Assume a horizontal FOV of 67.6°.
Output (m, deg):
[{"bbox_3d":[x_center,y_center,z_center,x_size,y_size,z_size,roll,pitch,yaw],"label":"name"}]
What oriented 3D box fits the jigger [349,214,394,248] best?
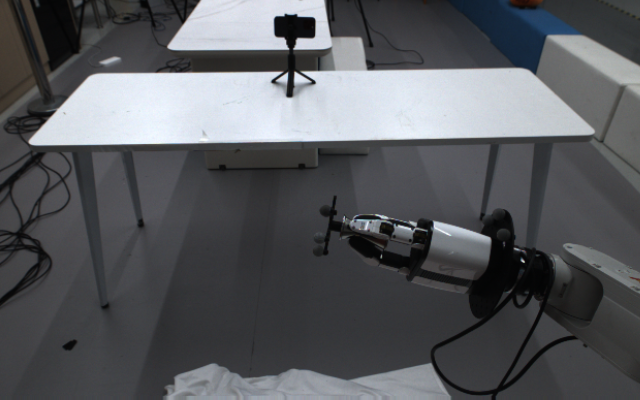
[{"bbox_3d":[0.071,0.042,0.702,0.071,0.043,0.043,11,35,3],"label":"jigger"}]
